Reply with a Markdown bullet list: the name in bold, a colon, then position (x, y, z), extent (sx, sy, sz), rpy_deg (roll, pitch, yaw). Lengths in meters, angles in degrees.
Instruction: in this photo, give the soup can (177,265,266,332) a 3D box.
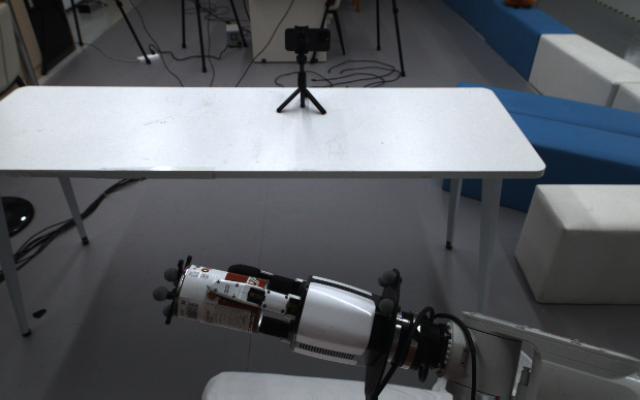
- **soup can**: position (-0.116, 0.123, 0.596), extent (0.101, 0.067, 0.067), rpy_deg (12, 35, -1)
